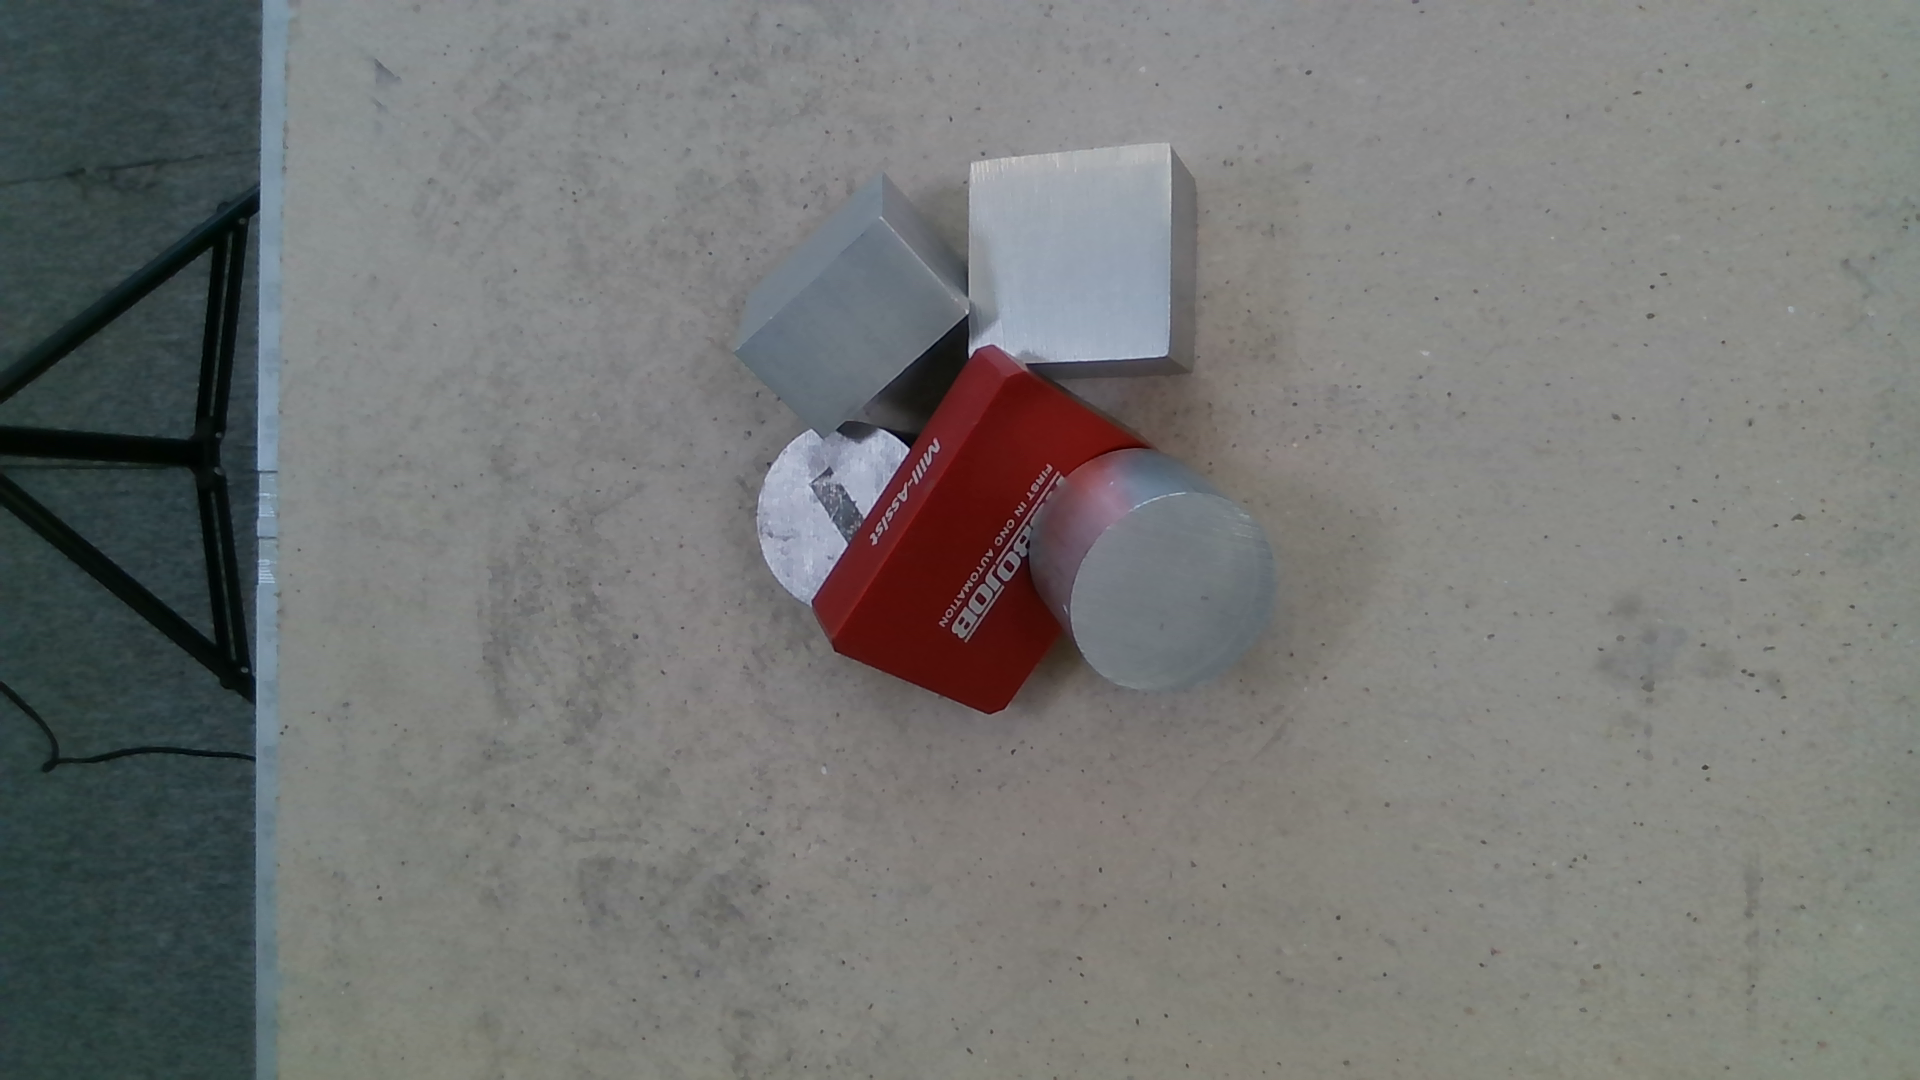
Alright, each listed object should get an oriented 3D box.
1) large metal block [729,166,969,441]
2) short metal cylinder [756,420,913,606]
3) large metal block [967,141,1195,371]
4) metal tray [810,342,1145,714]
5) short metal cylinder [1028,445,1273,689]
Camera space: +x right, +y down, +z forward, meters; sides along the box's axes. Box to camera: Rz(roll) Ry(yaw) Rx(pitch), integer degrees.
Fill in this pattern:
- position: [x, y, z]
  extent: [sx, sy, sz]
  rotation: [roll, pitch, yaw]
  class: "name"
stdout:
- position: [-0.045, -0.099, 0.565]
  extent: [0.080, 0.080, 0.050]
  rotation: [-39, 113, 16]
  class: "large metal block"
- position: [-0.040, -0.009, 0.588]
  extent: [0.080, 0.050, 0.080]
  rotation: [0, 91, 20]
  class: "short metal cylinder"
- position: [0.049, -0.110, 0.551]
  extent: [0.080, 0.050, 0.080]
  rotation: [1, 91, 20]
  class: "large metal block"
- position: [0.012, -0.001, 0.548]
  extent: [0.130, 0.090, 0.030]
  rotation: [-56, 34, 12]
  class: "metal tray"
- position: [0.071, 0.010, 0.525]
  extent: [0.080, 0.050, 0.080]
  rotation: [-6, 114, -13]
  class: "short metal cylinder"
